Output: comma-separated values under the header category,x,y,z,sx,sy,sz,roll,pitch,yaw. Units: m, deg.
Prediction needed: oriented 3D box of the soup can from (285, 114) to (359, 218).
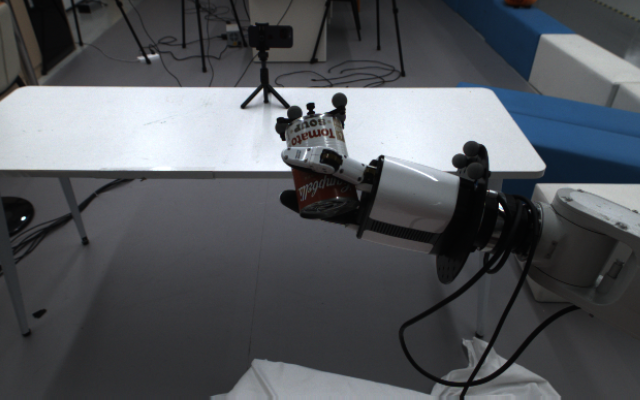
category,x,y,z,sx,sy,sz,roll,pitch,yaw
soup can,0.003,-0.037,0.545,0.067,0.067,0.101,-8,74,-14
